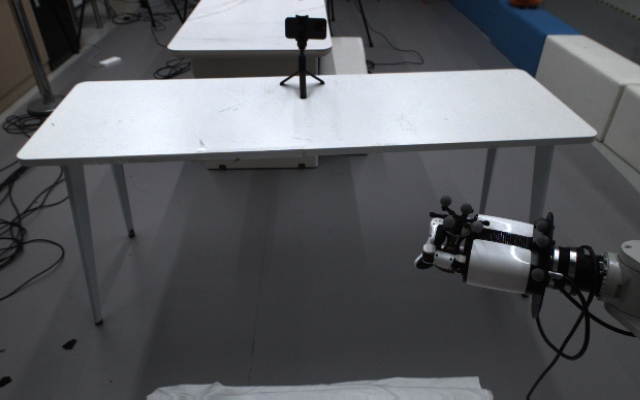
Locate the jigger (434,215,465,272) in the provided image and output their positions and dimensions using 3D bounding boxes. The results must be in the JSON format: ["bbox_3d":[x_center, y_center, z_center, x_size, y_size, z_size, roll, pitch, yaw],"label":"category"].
[{"bbox_3d":[0.207,0.073,0.755,0.043,0.071,0.043,6,26,-3],"label":"jigger"}]
